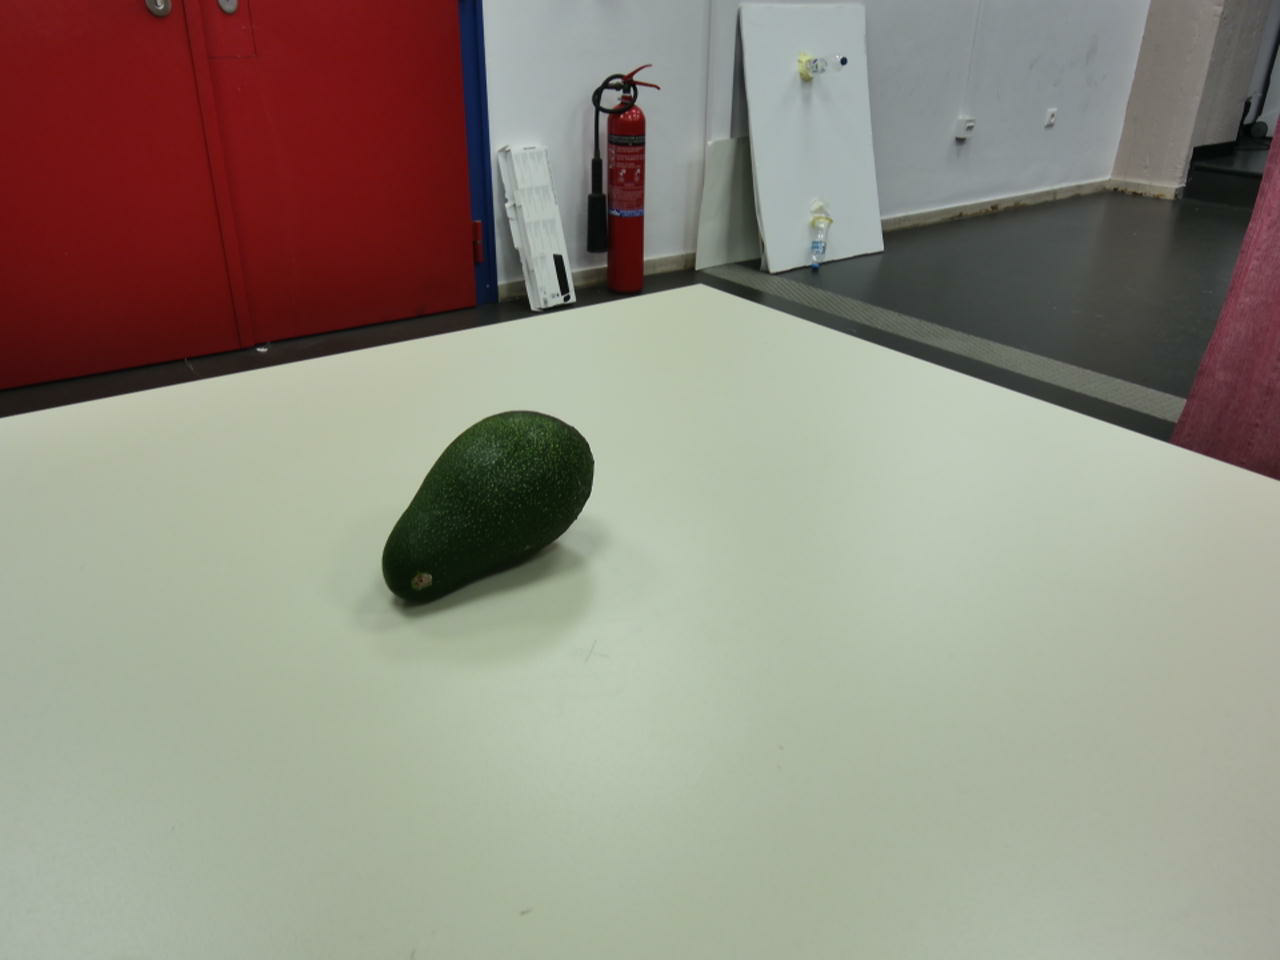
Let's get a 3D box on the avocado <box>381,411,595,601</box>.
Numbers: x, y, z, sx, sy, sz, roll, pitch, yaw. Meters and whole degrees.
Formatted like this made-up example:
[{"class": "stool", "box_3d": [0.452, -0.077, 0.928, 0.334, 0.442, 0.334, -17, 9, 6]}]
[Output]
[{"class": "avocado", "box_3d": [-0.079, 0.007, 0.506, 0.123, 0.076, 0.074, -14, 29, -29]}]
